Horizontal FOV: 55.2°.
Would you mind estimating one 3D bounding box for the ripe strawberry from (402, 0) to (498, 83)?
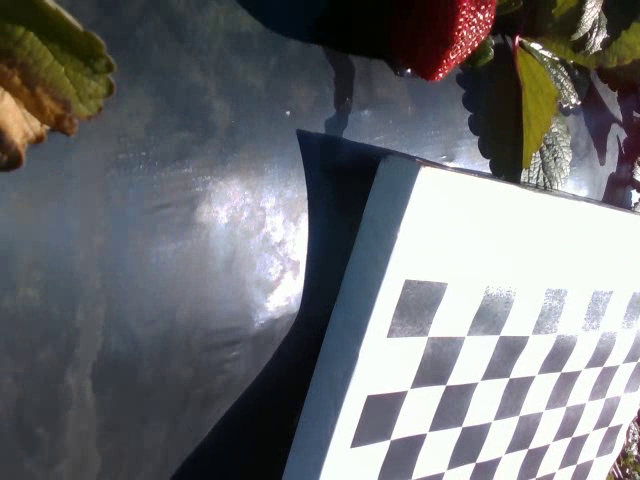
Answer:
[{"bbox_3d":[0.039,-0.076,0.210,0.058,0.066,0.062,-21,42,6],"label":"ripe strawberry"}]
